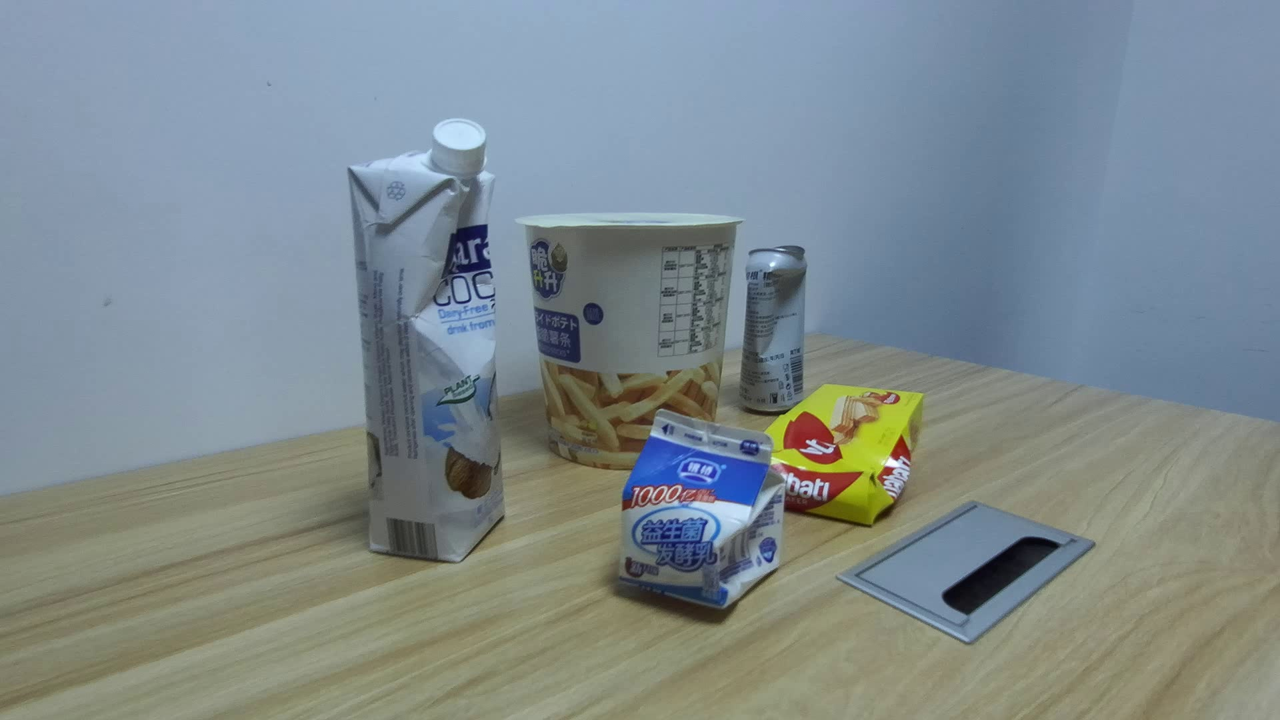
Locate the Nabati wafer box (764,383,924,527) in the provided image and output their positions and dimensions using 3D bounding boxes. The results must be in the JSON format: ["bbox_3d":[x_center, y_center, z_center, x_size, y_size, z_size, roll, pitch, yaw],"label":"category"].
[{"bbox_3d":[0.165,0.068,0.564,0.106,0.042,0.205,7,17,30],"label":"Nabati wafer box"}]

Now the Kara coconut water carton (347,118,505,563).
[{"bbox_3d":[-0.128,-0.010,0.431,0.078,0.255,0.083,9,16,25],"label":"Kara coconut water carton"}]

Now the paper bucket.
[{"bbox_3d":[-0.008,-0.024,0.609,0.198,0.194,0.198,0,15,0],"label":"paper bucket"}]

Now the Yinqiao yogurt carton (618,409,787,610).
[{"bbox_3d":[0.037,0.079,0.394,0.074,0.097,0.080,7,9,25],"label":"Yinqiao yogurt carton"}]
